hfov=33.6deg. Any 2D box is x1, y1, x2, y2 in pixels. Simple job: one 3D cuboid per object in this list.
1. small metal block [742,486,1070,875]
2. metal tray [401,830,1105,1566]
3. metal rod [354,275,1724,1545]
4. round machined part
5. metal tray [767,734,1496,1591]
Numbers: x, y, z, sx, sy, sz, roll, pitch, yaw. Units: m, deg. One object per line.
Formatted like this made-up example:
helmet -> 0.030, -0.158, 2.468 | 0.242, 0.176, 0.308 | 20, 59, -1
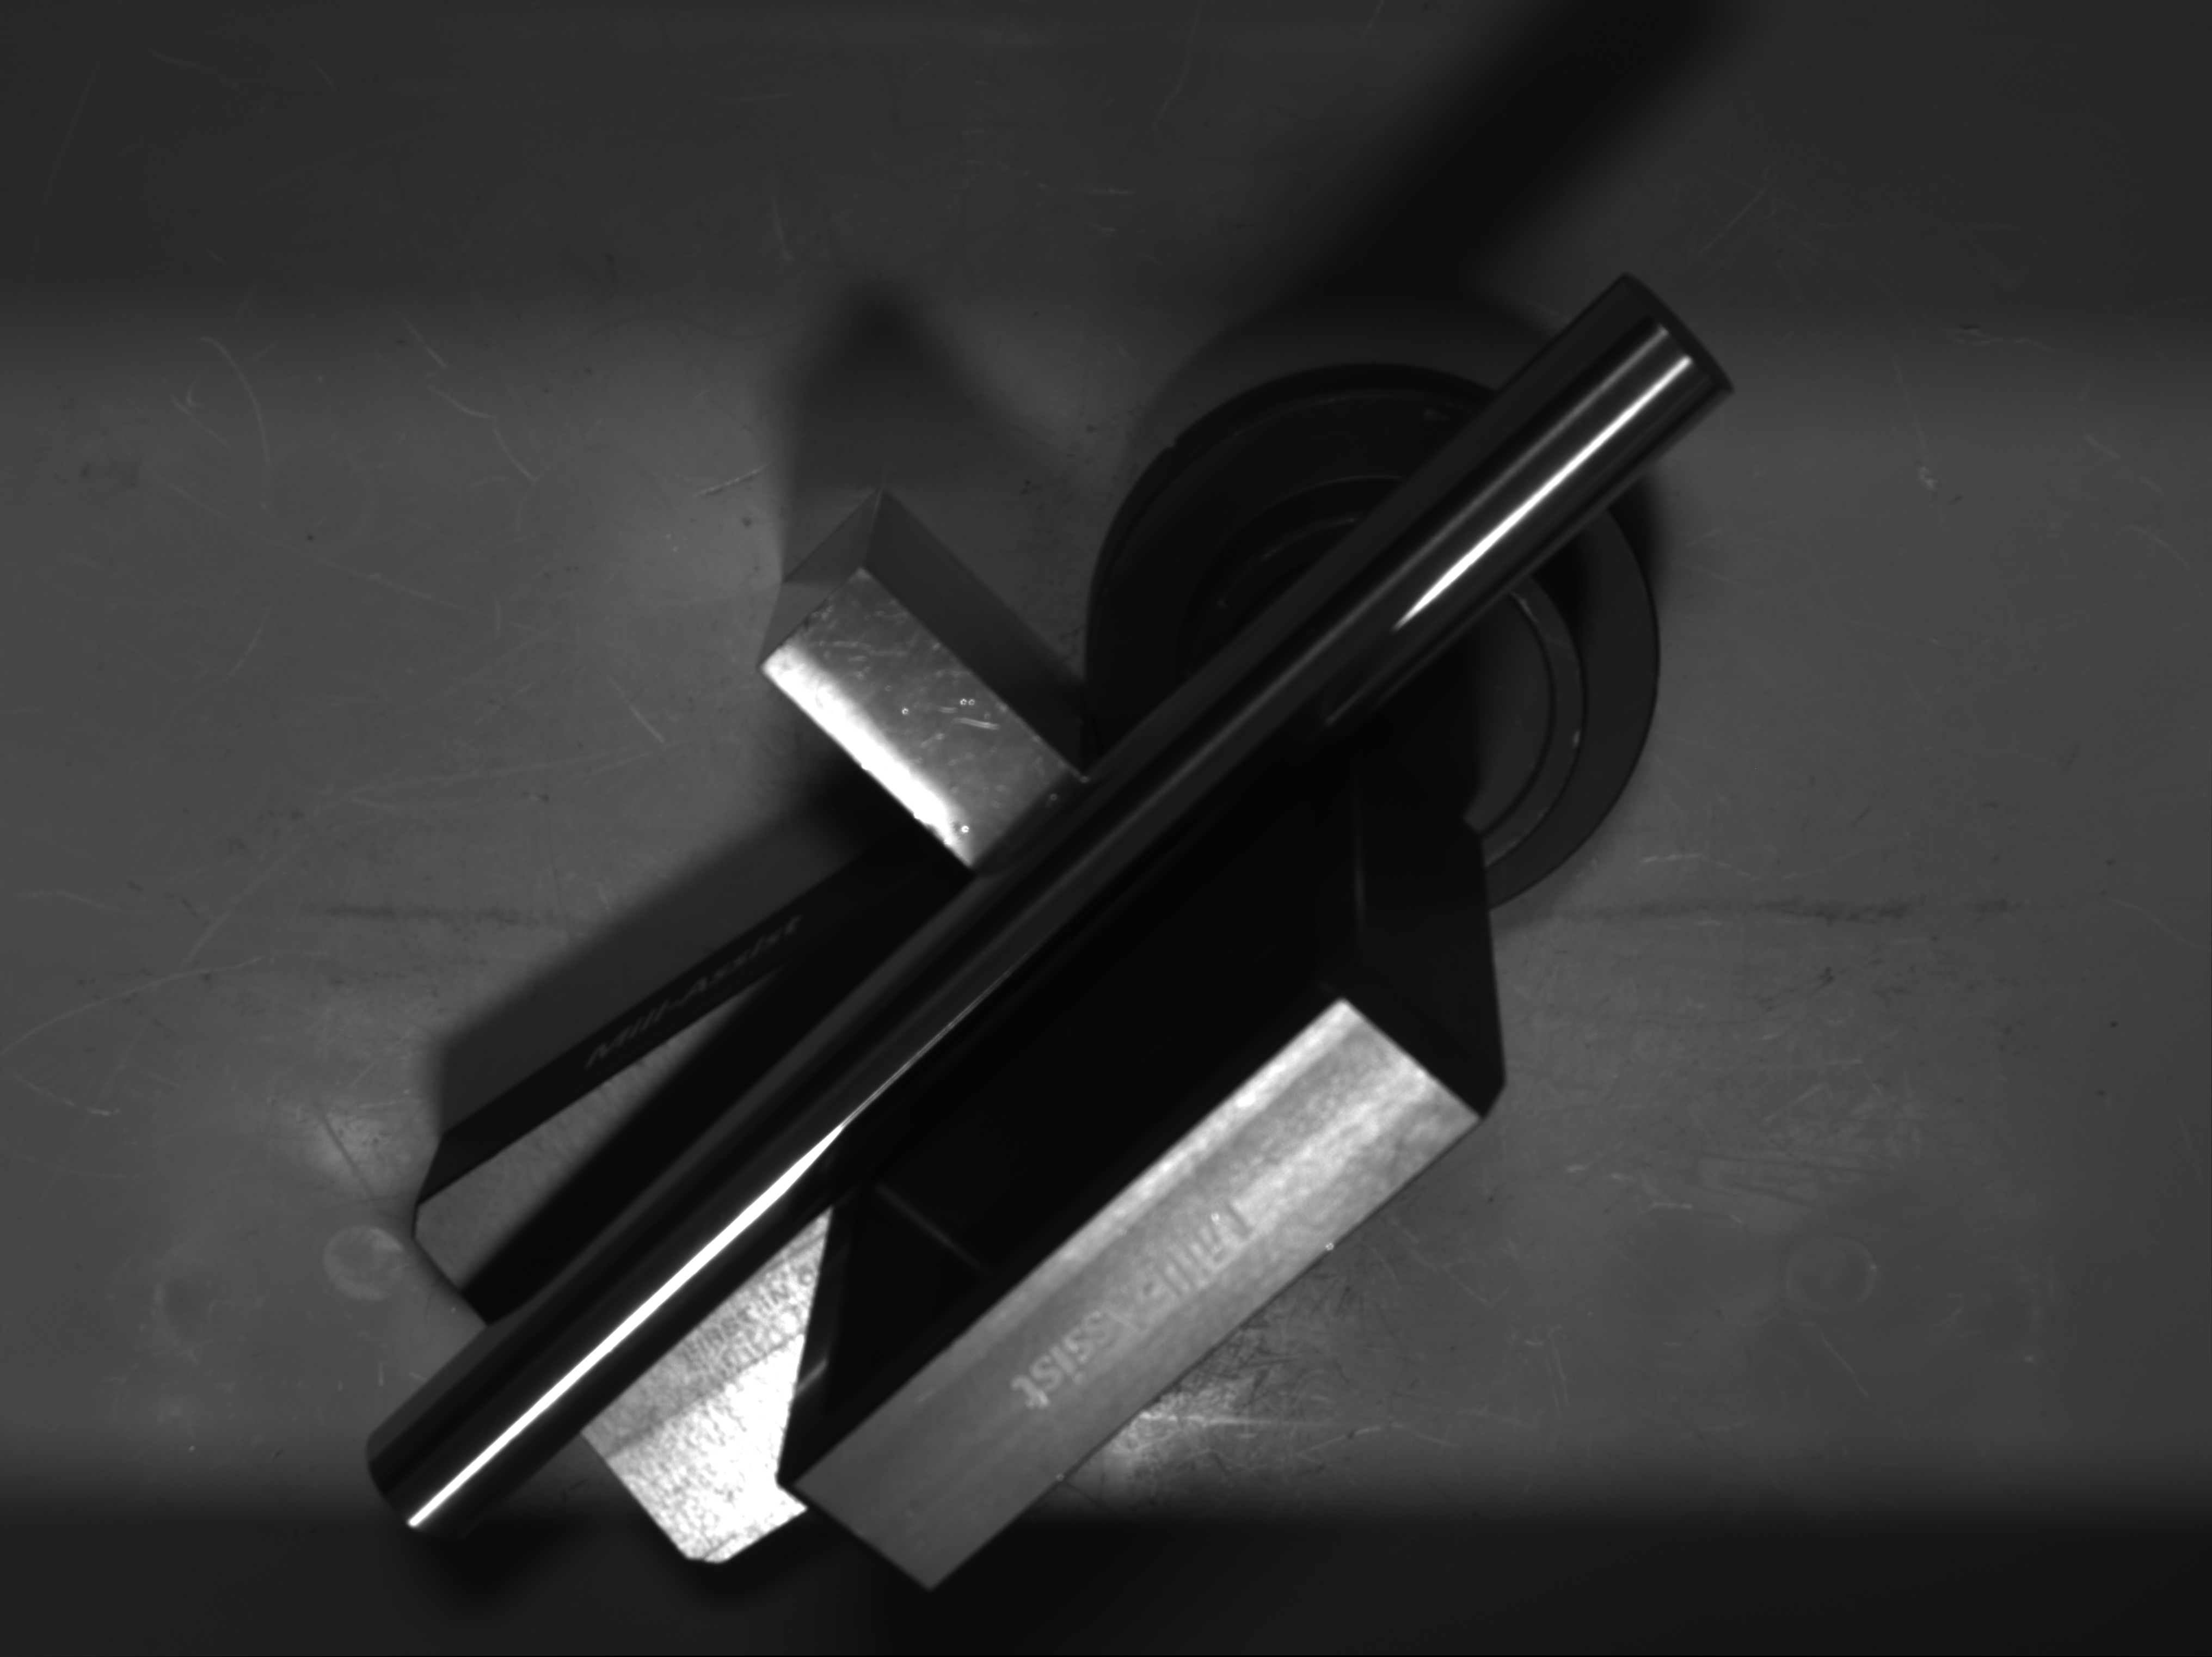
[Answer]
small metal block -> -0.033, -0.026, 0.619 | 0.025, 0.050, 0.050 | -43, 105, 13
metal tray -> -0.049, 0.064, 0.662 | 0.130, 0.030, 0.090 | -33, 107, 11
metal rod -> -0.019, 0.021, 0.608 | 0.025, 0.025, 0.300 | 43, 108, -14
round machined part -> 0.043, -0.026, 0.623 | 0.098, 0.042, 0.098 | 0, 110, -1
metal tray -> 0.004, 0.052, 0.586 | 0.030, 0.090, 0.130 | 41, 111, -16
